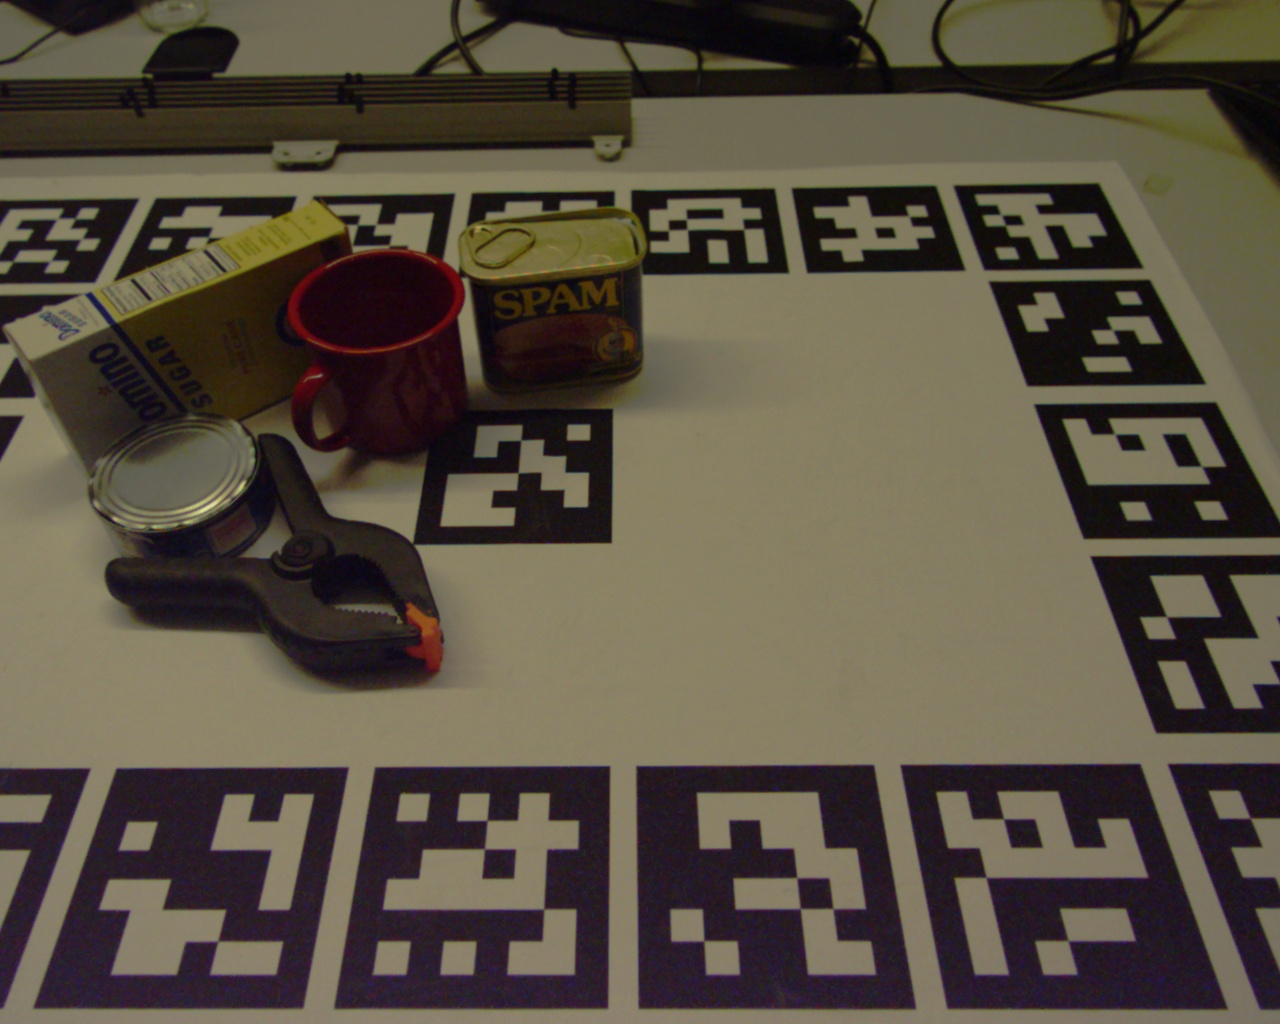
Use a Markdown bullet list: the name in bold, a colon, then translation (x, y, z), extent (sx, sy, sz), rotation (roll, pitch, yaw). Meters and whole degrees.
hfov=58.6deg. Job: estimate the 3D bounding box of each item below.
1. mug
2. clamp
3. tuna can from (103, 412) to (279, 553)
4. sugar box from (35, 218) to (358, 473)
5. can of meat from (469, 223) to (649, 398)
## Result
- **mug**: translation (-0.147, -0.085, 0.644), extent (0.094, 0.081, 0.117), rotation (19, 53, 15)
- **clamp**: translation (-0.162, 0.032, 0.583), extent (0.166, 0.036, 0.121), rotation (29, 51, 19)
- **tuna can**: translation (-0.241, -0.012, 0.616), extent (0.086, 0.033, 0.086), rotation (-1, 50, 0)
- **sugar box**: translation (-0.240, -0.093, 0.656), extent (0.175, 0.092, 0.046), rotation (-31, 54, -26)
- **can of meat**: translation (-0.048, -0.119, 0.683), extent (0.101, 0.083, 0.058), rotation (-6, 48, -7)
